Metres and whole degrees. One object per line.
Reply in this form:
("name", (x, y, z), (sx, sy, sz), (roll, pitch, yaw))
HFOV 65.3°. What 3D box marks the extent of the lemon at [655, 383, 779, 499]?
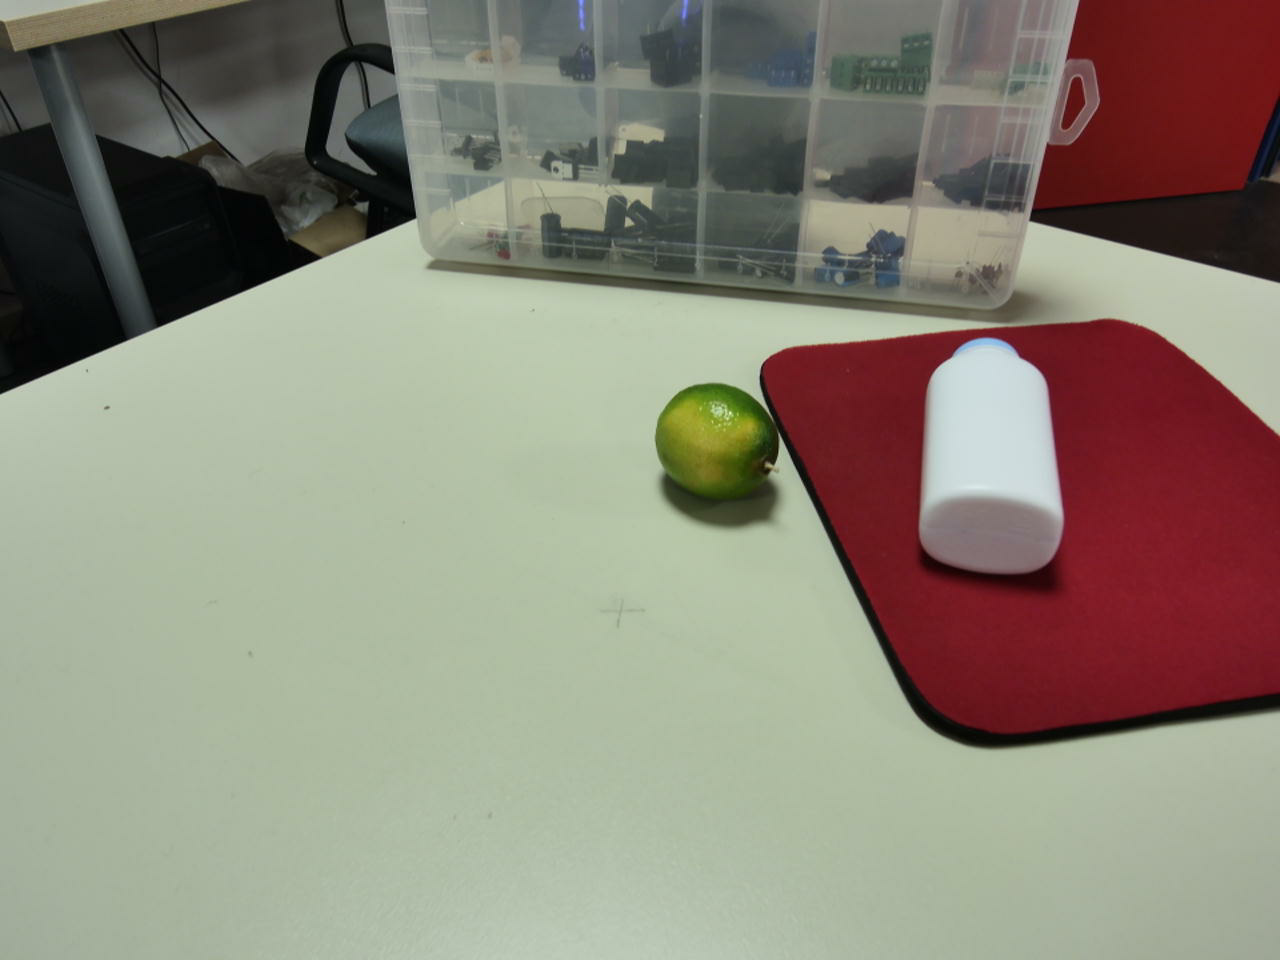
("lemon", (0.034, -0.018, 0.449), (0.054, 0.050, 0.055), (1, 36, 0))
